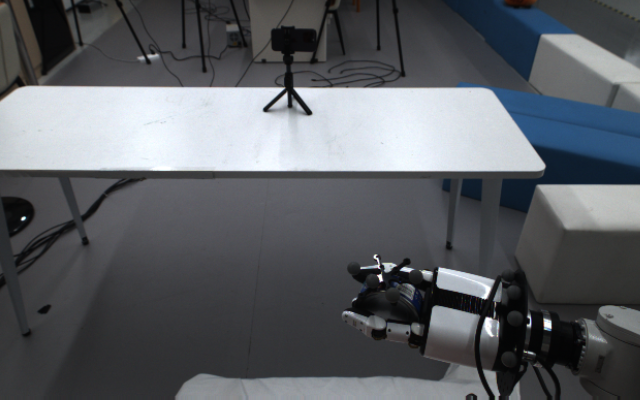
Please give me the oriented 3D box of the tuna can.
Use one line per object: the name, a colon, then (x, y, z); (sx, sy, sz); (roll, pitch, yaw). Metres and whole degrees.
tuna can: (0.093, 0.136, 0.635); (0.085, 0.085, 0.034); (14, 41, 16)
